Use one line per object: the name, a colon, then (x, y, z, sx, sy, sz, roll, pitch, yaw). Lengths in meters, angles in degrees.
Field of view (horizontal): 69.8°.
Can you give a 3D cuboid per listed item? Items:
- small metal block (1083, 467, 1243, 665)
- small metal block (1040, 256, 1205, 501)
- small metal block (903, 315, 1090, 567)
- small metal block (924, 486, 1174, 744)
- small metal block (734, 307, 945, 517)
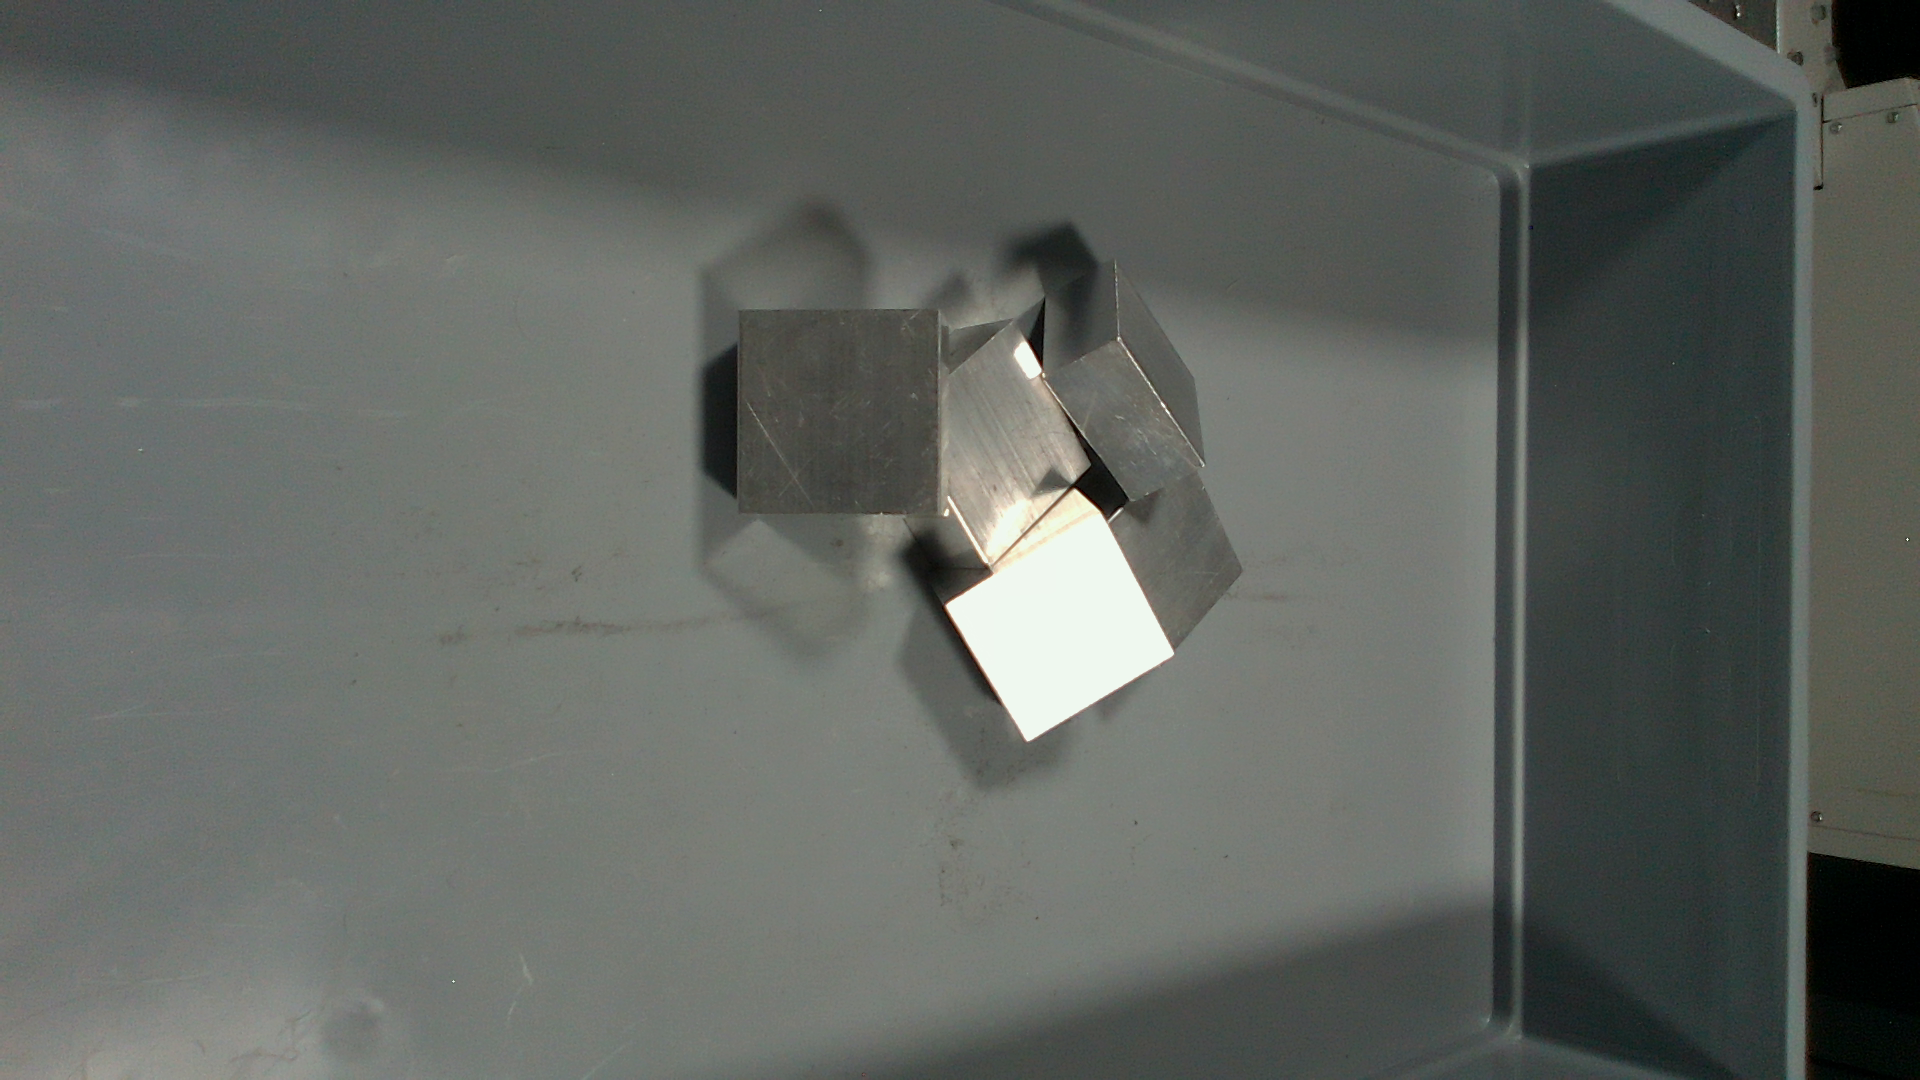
small metal block: (0.057, 0.004, 0.435, 0.050, 0.025, 0.050, -43, 116, -31)
small metal block: (0.049, -0.049, 0.413, 0.050, 0.025, 0.050, 51, 26, -28)
small metal block: (0.003, -0.028, 0.390, 0.050, 0.025, 0.050, -45, 117, -30)
small metal block: (0.025, 0.021, 0.393, 0.050, 0.025, 0.050, -31, 112, -2)
small metal block: (-0.029, -0.031, 0.345, 0.050, 0.025, 0.050, 0, 89, 4)
